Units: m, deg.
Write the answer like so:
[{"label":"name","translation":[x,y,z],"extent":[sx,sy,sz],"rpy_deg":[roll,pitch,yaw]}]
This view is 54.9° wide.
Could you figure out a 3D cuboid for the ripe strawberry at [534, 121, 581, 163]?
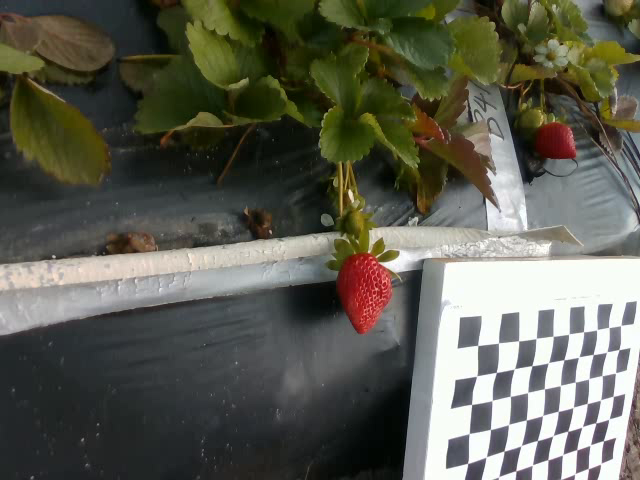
[{"label":"ripe strawberry","translation":[0.199,-0.082,0.510],"extent":[0.037,0.031,0.048],"rpy_deg":[18,33,-36]}]

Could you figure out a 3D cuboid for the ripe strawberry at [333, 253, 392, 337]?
[{"label":"ripe strawberry","translation":[0.024,0.032,0.345],"extent":[0.030,0.053,0.048],"rpy_deg":[-14,-48,37]}]
